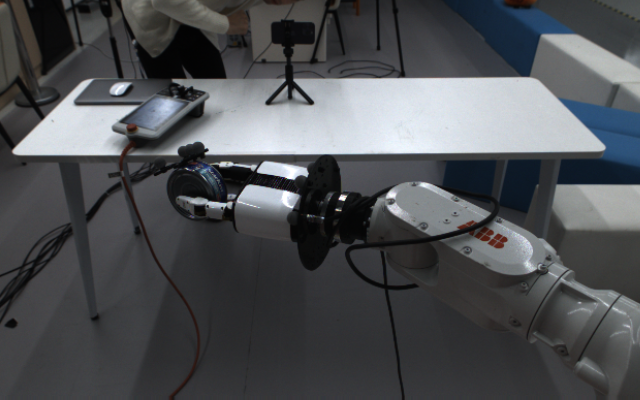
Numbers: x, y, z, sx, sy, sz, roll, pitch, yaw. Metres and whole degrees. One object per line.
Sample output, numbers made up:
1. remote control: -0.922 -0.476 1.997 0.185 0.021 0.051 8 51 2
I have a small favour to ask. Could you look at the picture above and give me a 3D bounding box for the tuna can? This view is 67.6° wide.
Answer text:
1. tuna can: -0.180 -0.013 0.714 0.085 0.085 0.034 14 30 17
